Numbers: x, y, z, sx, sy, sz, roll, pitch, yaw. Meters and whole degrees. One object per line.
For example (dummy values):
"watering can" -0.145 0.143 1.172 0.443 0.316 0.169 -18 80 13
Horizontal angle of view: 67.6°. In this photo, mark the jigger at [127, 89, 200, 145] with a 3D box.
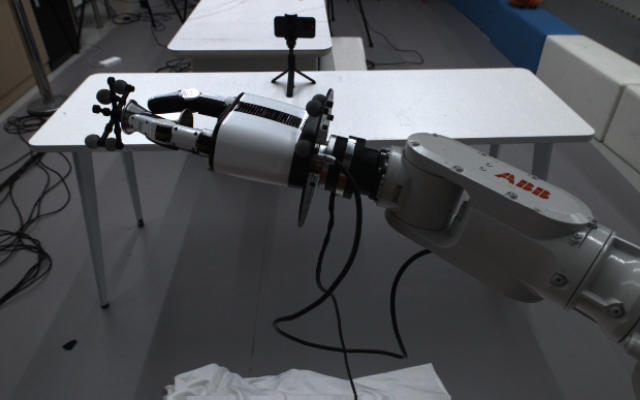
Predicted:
"jigger" -0.182 -0.092 0.555 0.071 0.043 0.043 10 35 4
